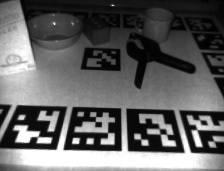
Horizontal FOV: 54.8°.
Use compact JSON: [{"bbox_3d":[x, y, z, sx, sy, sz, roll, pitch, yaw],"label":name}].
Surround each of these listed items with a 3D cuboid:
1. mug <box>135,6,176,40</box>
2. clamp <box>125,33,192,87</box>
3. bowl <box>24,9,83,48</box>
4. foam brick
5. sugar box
[{"bbox_3d":[0.124,-0.195,0.651,0.116,0.082,0.093,23,50,13],"label":"mug"},{"bbox_3d":[0.089,-0.091,0.576,0.166,0.037,0.200,-17,51,-16],"label":"clamp"},{"bbox_3d":[-0.163,-0.155,0.614,0.162,0.055,0.161,3,47,-2],"label":"bowl"},{"bbox_3d":[-0.046,-0.166,0.644,0.053,0.051,0.077,-20,52,-19],"label":"foam brick"},{"bbox_3d":[-0.237,-0.103,0.477,0.093,0.177,0.045,-17,52,-19],"label":"sugar box"}]
